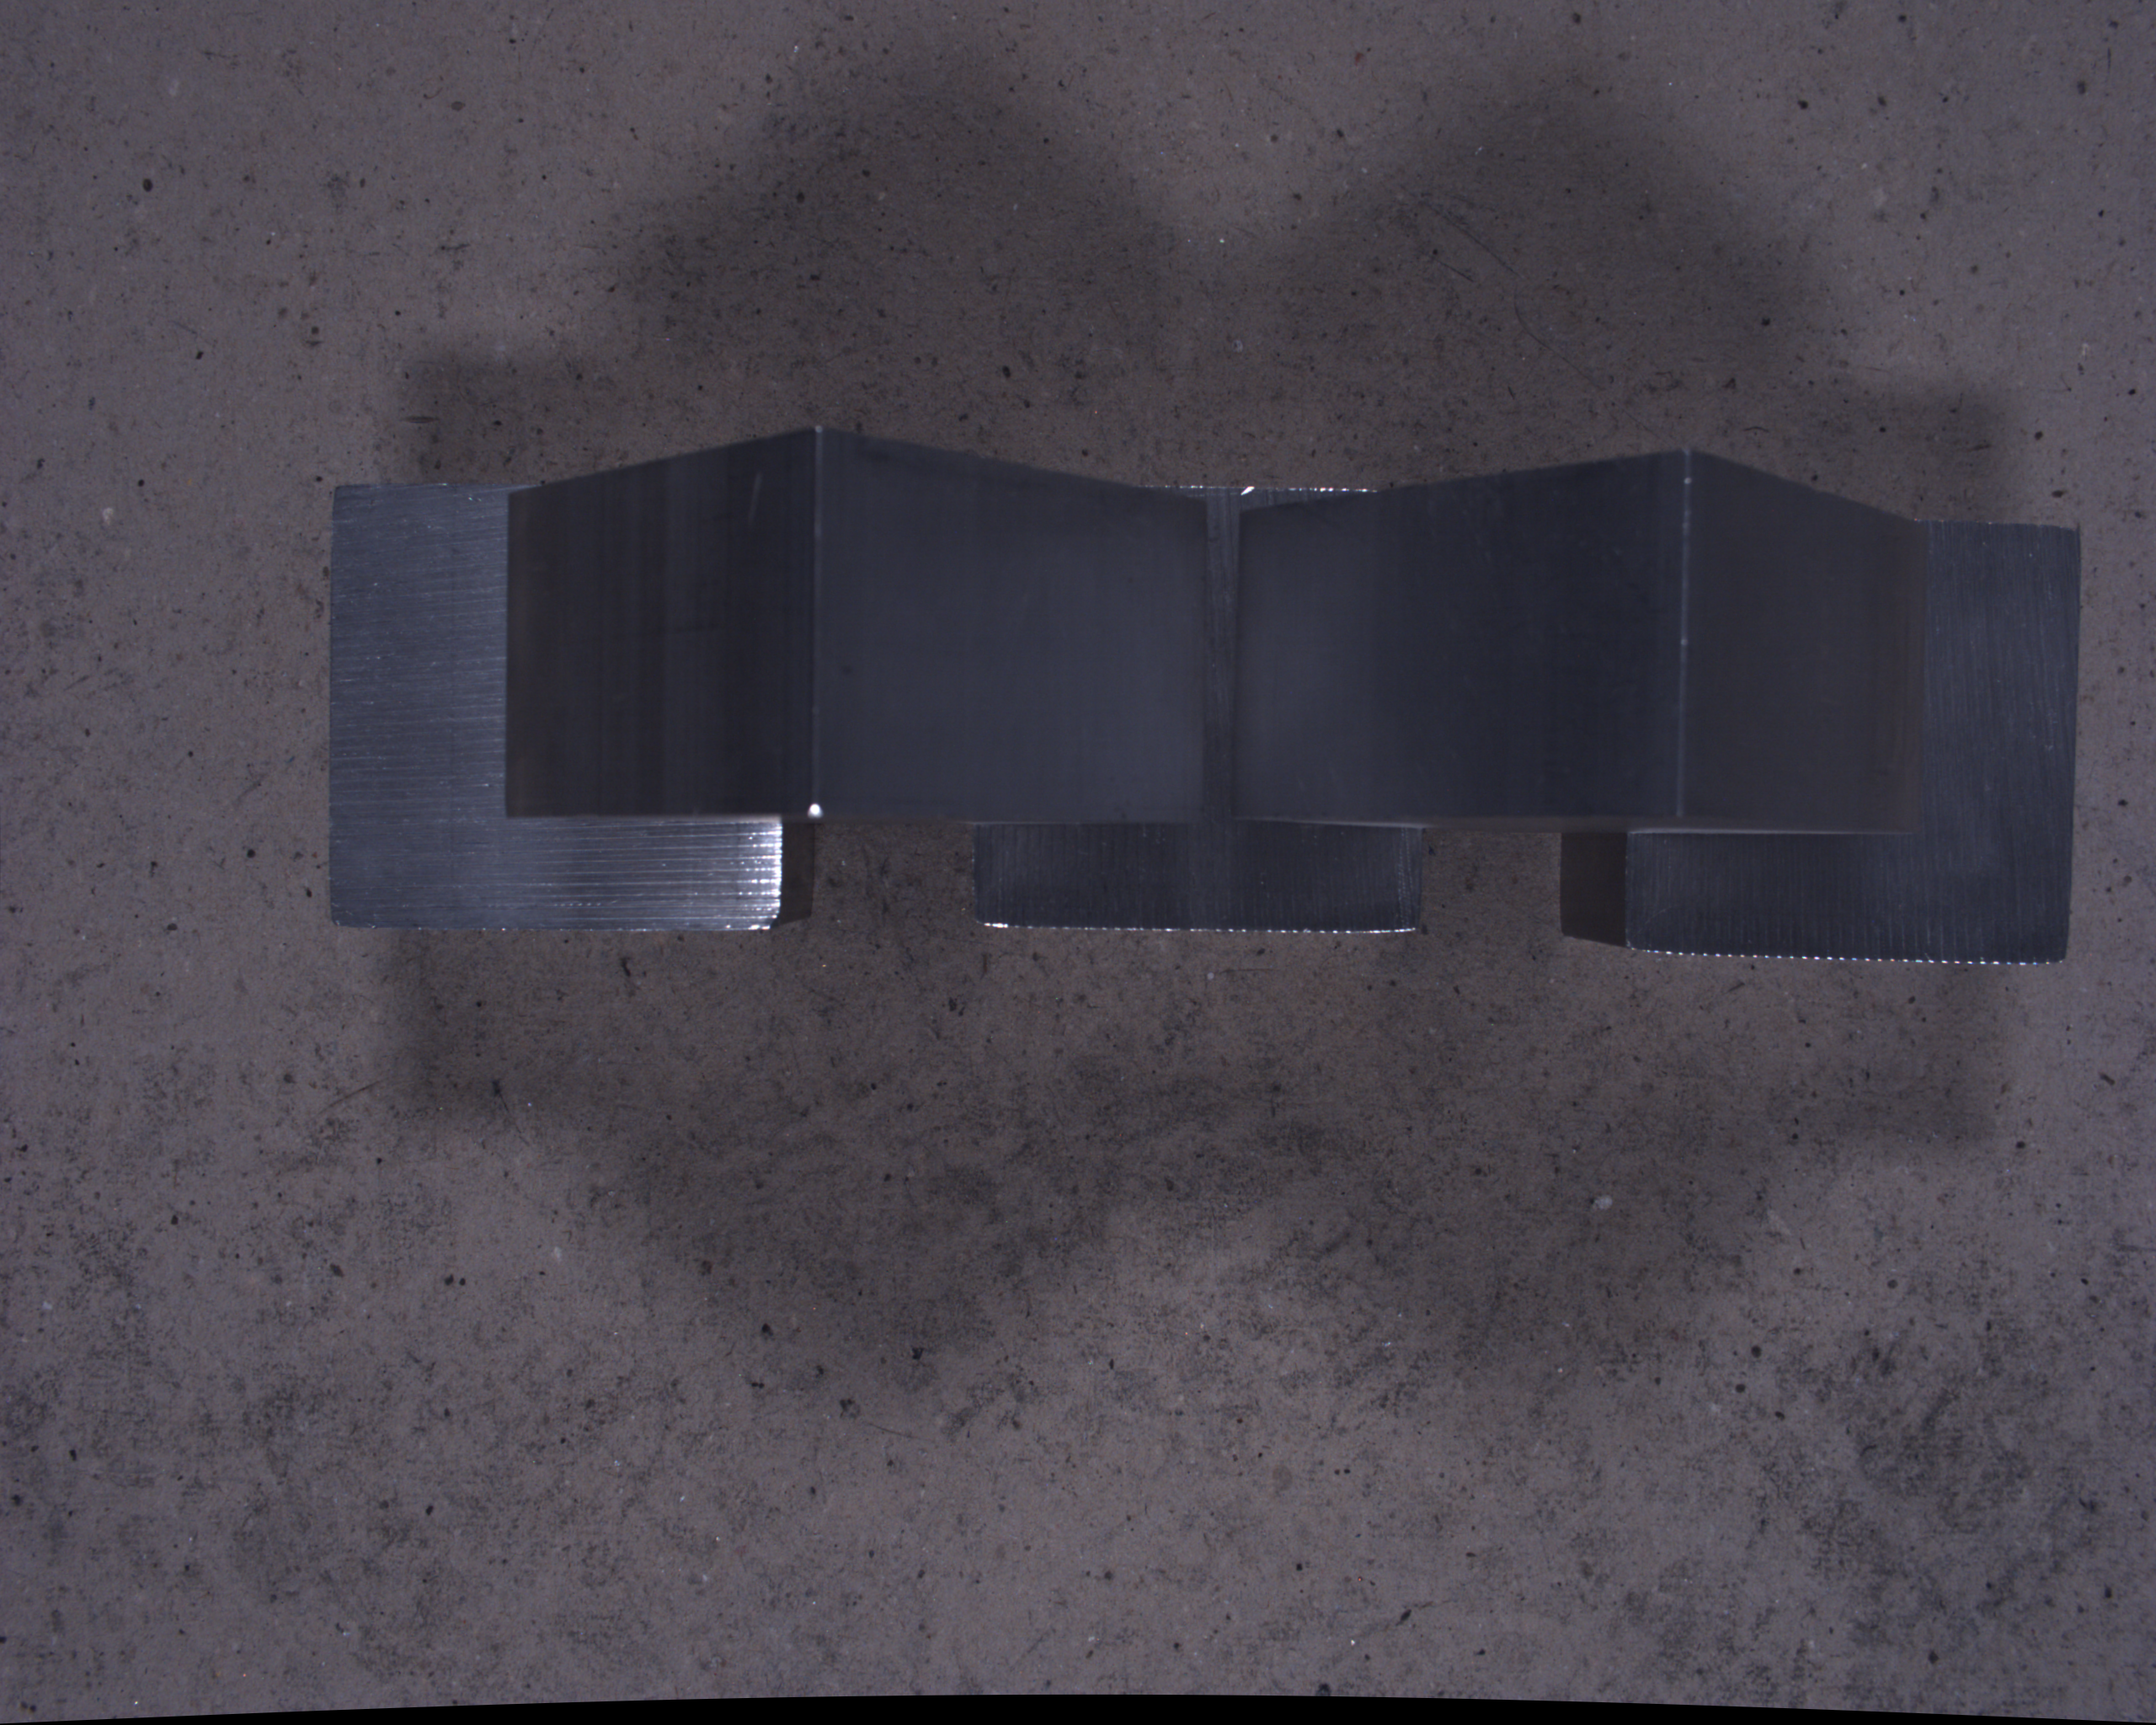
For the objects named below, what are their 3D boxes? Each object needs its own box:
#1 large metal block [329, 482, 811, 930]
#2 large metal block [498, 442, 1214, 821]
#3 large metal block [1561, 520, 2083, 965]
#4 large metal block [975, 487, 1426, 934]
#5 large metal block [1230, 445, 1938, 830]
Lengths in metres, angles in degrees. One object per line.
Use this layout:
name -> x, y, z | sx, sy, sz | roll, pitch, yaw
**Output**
large metal block -> -0.093, -0.028, 0.398 | 0.081, 0.050, 0.079 | 0, 90, -1
large metal block -> -0.035, -0.032, 0.333 | 0.081, 0.080, 0.050 | -1, 91, -46
large metal block -> 0.140, -0.022, 0.401 | 0.081, 0.050, 0.079 | 2, 90, -1
large metal block -> 0.022, -0.028, 0.399 | 0.081, 0.050, 0.079 | 1, 90, -1
large metal block -> 0.082, -0.031, 0.337 | 0.080, 0.081, 0.050 | 1, 90, 44
